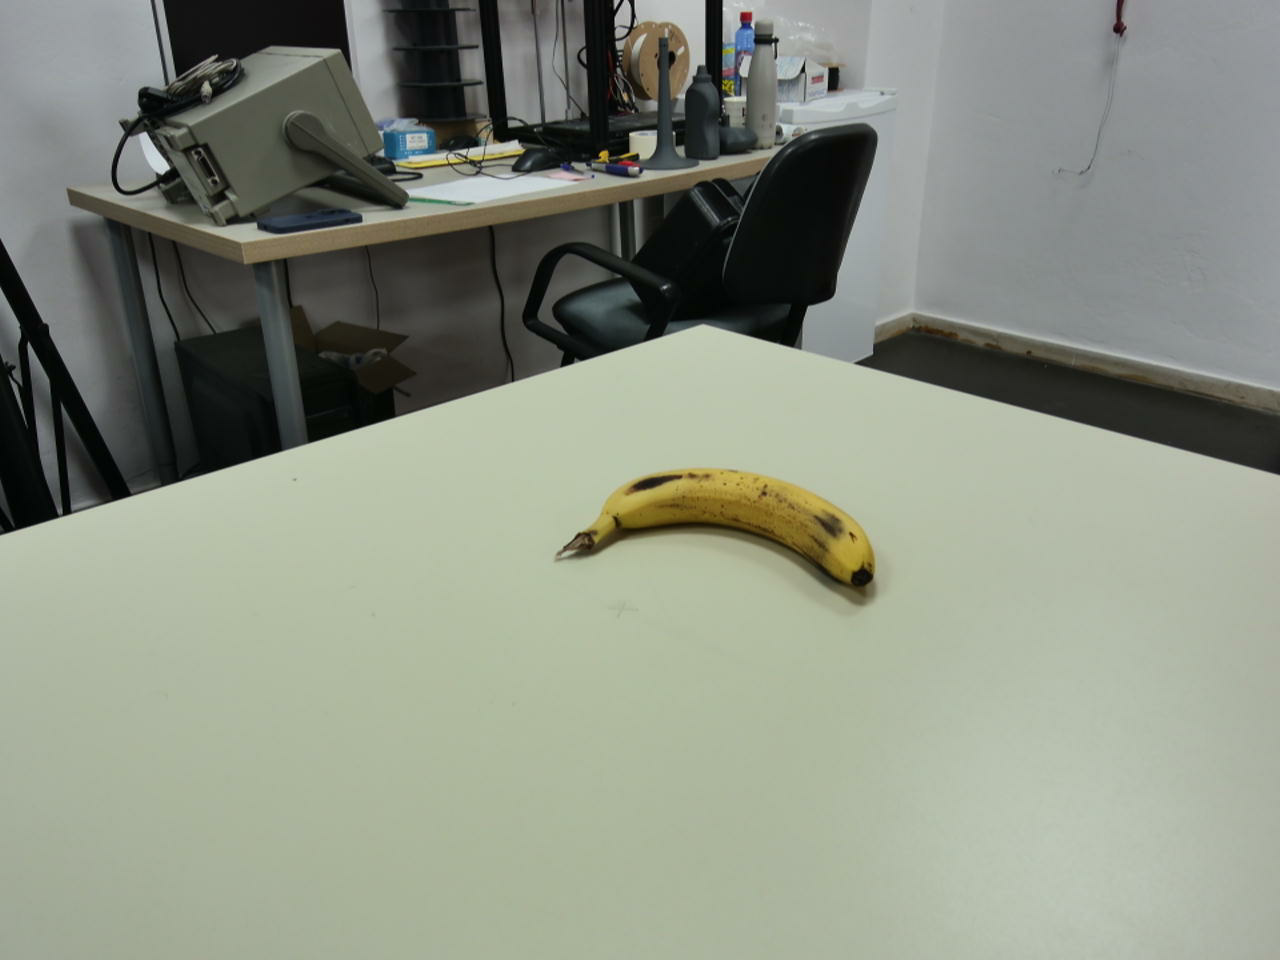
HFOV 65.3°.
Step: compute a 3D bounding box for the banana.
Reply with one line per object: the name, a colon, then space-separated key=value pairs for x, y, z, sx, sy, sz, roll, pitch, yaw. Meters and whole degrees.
banana: x=0.058 y=0.026 z=0.627 sx=0.186 sy=0.038 sz=0.097 roll=8 pitch=25 yaw=18
